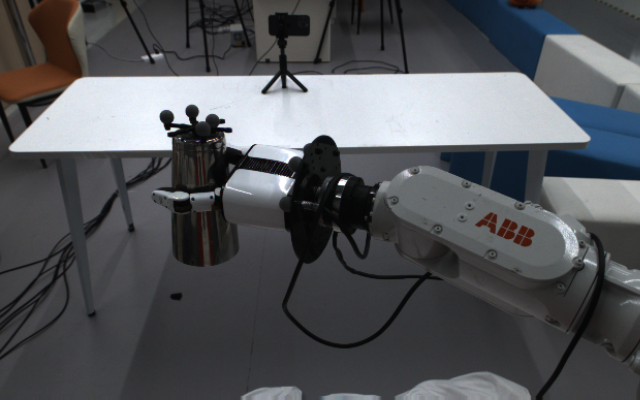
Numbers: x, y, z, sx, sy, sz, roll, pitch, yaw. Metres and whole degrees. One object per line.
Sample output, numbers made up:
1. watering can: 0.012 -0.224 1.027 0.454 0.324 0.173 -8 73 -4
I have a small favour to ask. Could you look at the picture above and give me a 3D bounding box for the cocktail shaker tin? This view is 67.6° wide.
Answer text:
1. cocktail shaker tin: -0.157 -0.007 0.649 0.093 0.170 0.093 2 26 -1
